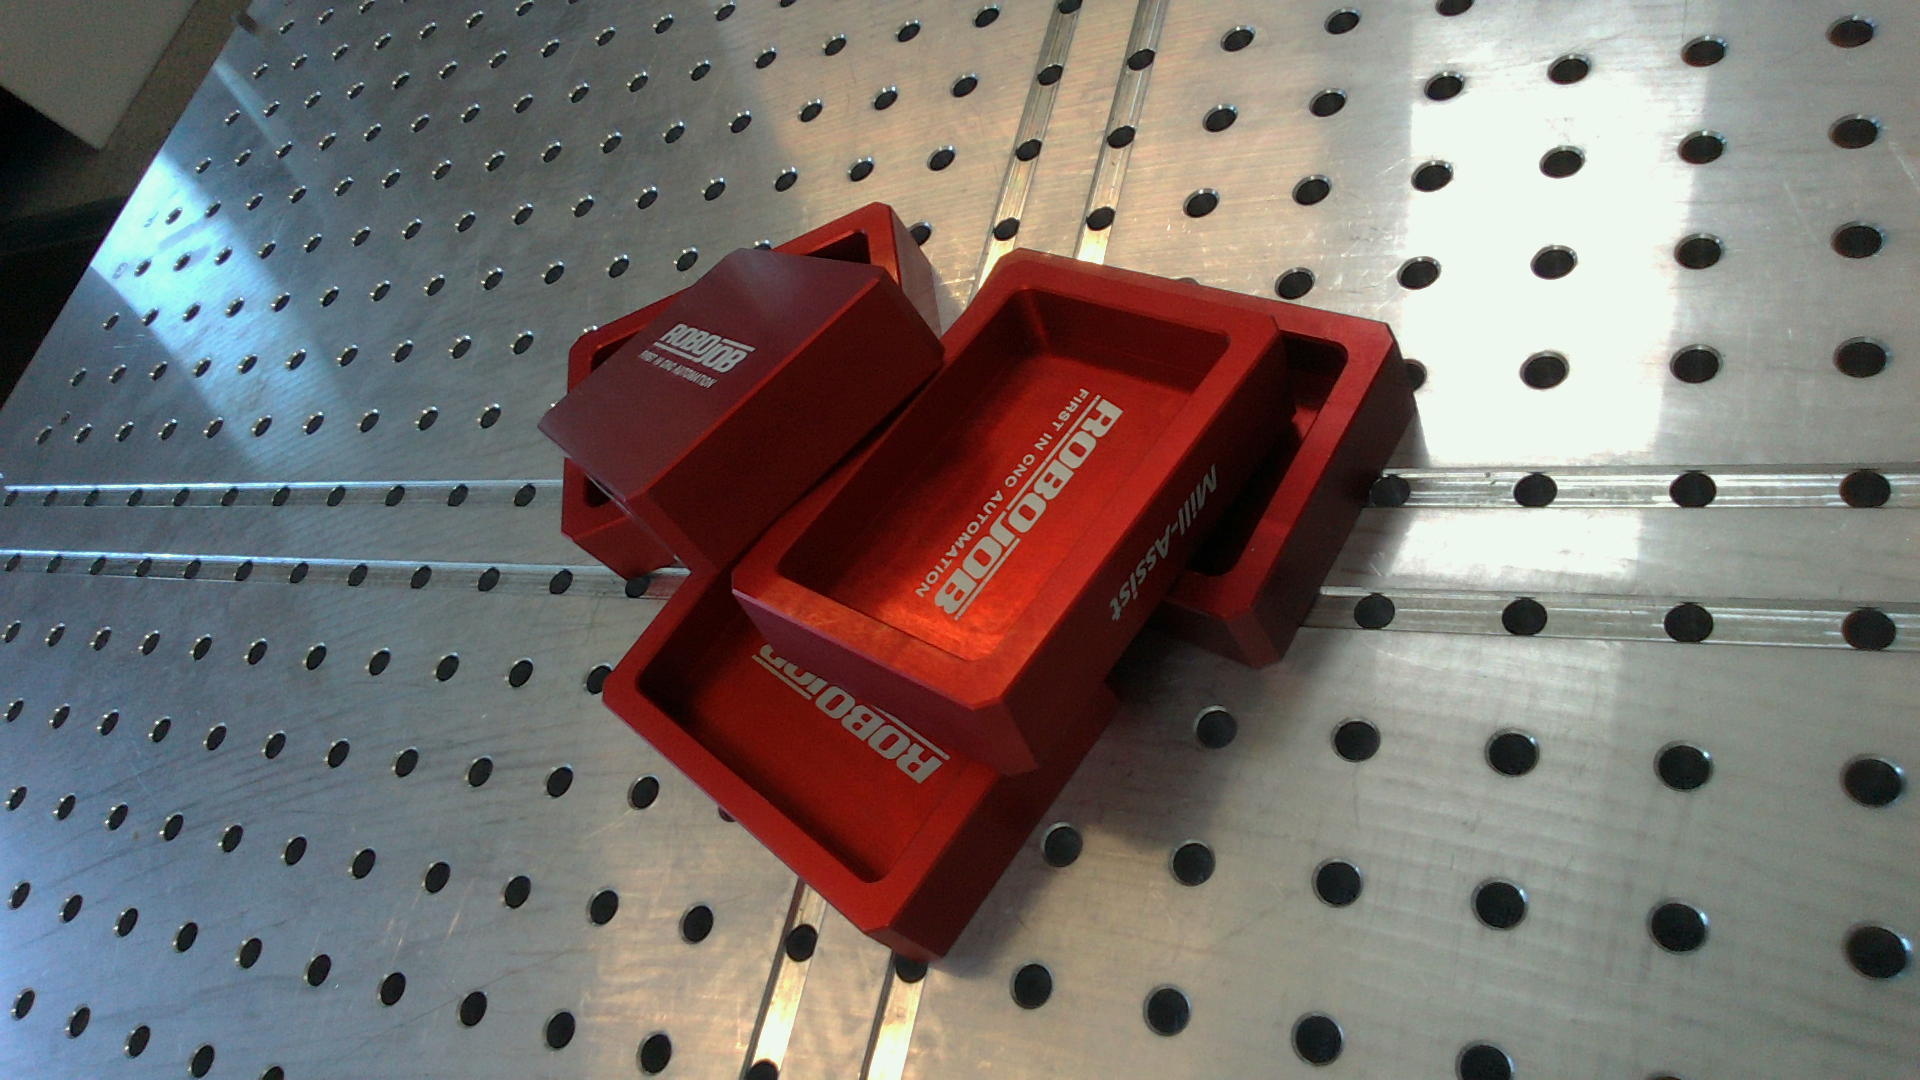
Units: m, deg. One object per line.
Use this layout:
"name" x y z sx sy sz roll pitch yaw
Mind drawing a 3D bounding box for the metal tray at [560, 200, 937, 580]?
"metal tray" -0.071 -0.050 0.462 0.130 0.030 0.090 -21 53 17

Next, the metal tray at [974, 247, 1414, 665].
"metal tray" 0.046 -0.029 0.385 0.129 0.030 0.090 20 72 37

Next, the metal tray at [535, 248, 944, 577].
"metal tray" -0.071 -0.044 0.406 0.090 0.030 0.130 -44 28 -11

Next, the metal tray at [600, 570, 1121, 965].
"metal tray" -0.032 0.043 0.384 0.130 0.030 0.090 29 78 38

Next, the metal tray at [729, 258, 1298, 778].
"metal tray" 0.015 -0.013 0.353 0.090 0.030 0.130 22 62 36
